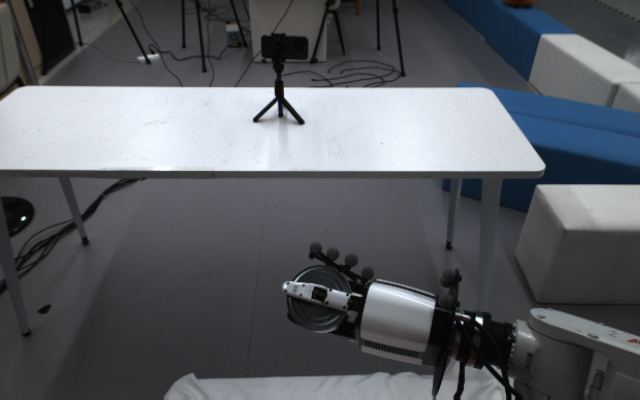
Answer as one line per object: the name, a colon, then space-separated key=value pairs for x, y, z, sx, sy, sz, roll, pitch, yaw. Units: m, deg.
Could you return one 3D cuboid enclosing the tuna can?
tuna can: x=0.004 y=0.129 z=0.638 sx=0.085 sy=0.034 sz=0.085 roll=-4 pitch=67 yaw=10
